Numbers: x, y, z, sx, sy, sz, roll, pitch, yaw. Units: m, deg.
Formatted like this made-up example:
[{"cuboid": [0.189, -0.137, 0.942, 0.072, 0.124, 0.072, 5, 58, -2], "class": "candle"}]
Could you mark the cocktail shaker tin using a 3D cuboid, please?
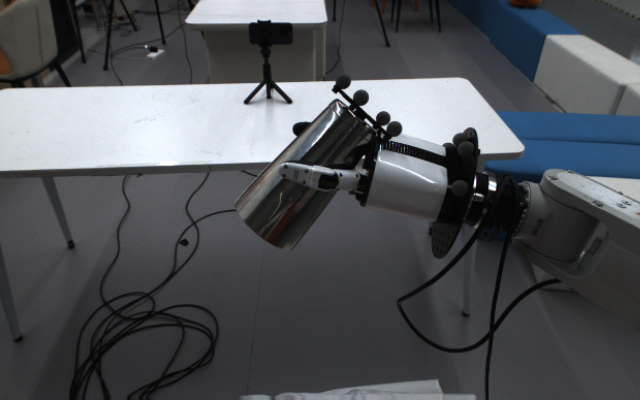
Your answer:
[{"cuboid": [-0.011, -0.036, 0.575, 0.093, 0.170, 0.093, 41, 12, -11], "class": "cocktail shaker tin"}]
